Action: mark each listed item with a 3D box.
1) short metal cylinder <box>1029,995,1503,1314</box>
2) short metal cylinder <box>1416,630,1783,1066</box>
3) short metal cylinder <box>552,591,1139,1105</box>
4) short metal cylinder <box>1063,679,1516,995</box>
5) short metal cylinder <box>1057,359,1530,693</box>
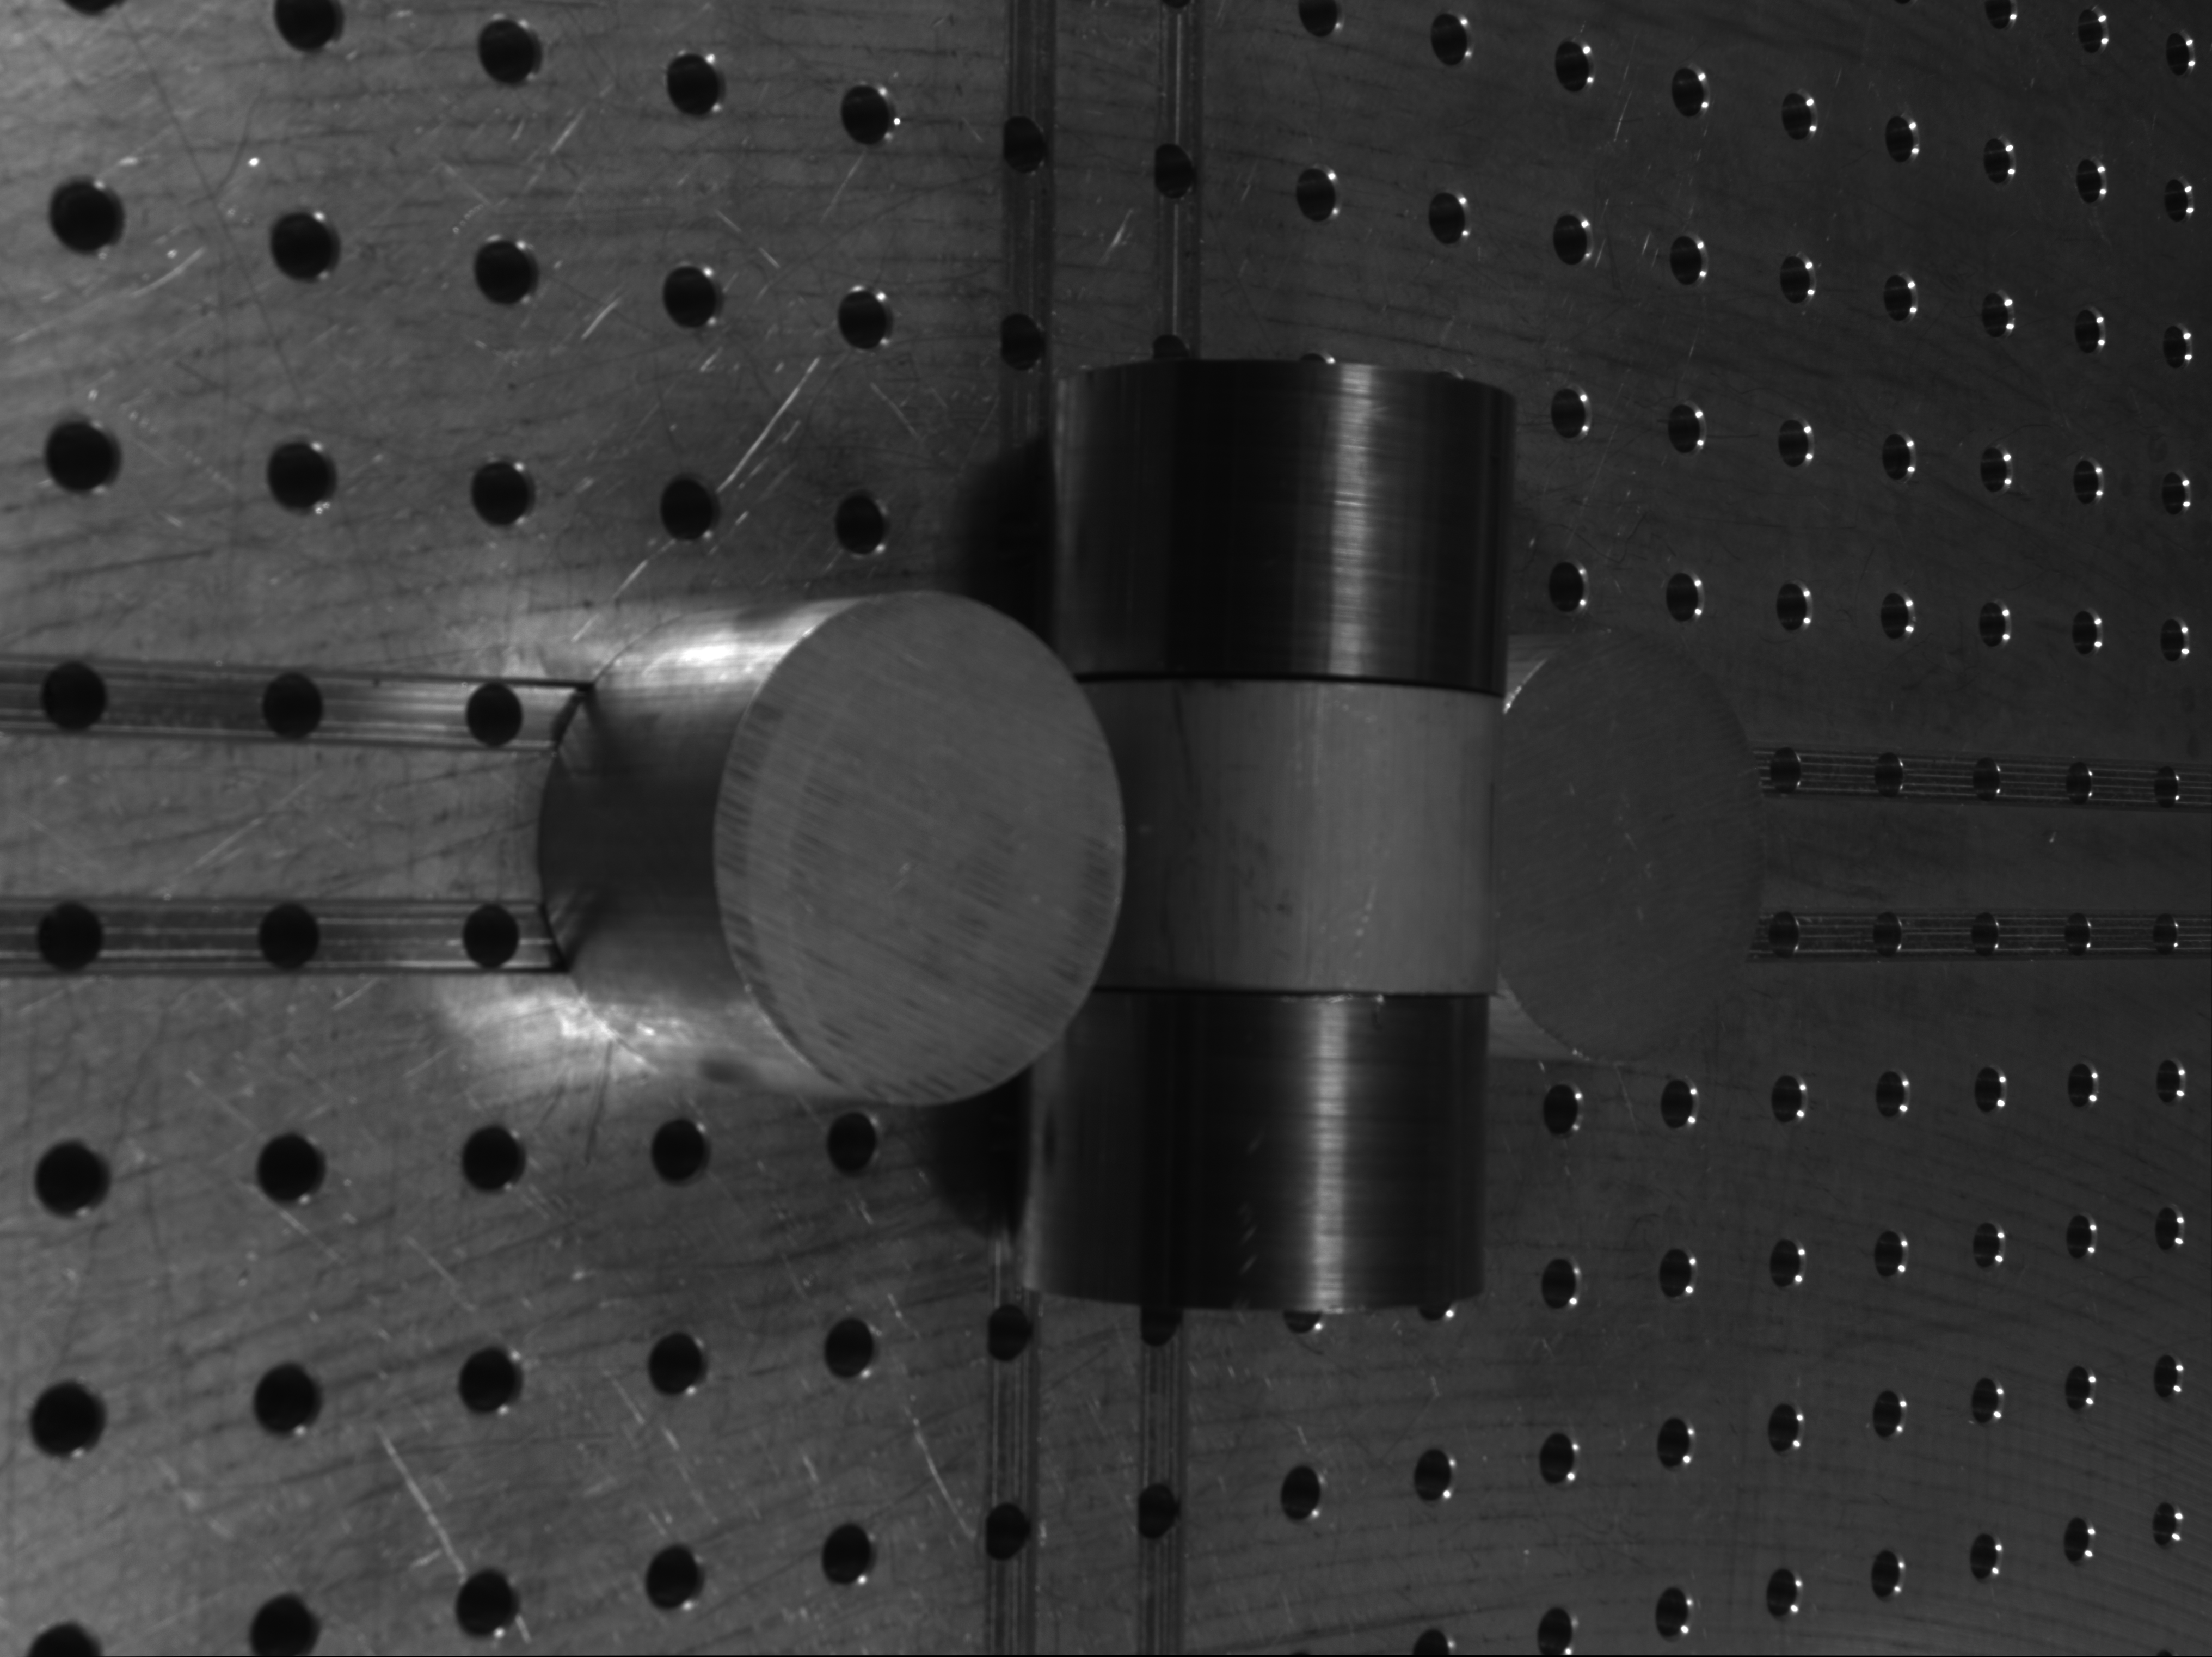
[{"bbox_3d":[0.027,0.053,0.627,0.080,0.080,0.050,2,89,-40],"label":"short metal cylinder"},{"bbox_3d":[0.082,0.004,0.692,0.080,0.050,0.080,0,90,-40],"label":"short metal cylinder"},{"bbox_3d":[-0.041,0.003,0.589,0.080,0.050,0.080,0,90,-40],"label":"short metal cylinder"},{"bbox_3d":[0.030,0.002,0.629,0.080,0.080,0.050,3,88,-40],"label":"short metal cylinder"},{"bbox_3d":[0.032,-0.049,0.630,0.080,0.080,0.050,4,88,-40],"label":"short metal cylinder"}]
